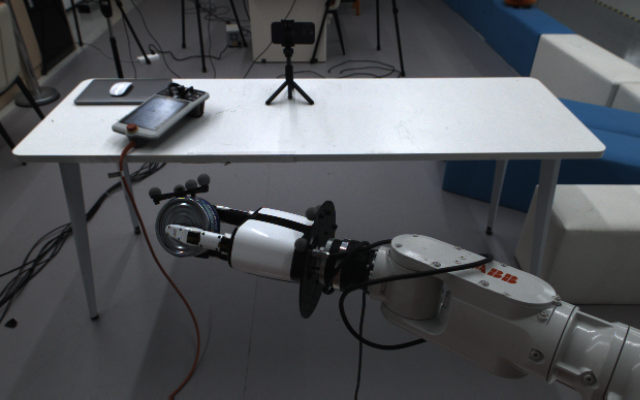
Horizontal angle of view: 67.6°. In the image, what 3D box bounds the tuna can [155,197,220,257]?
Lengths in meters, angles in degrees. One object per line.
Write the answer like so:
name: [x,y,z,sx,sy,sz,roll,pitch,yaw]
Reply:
tuna can: [-0.184,0.044,0.680,0.085,0.085,0.034,12,3,14]
